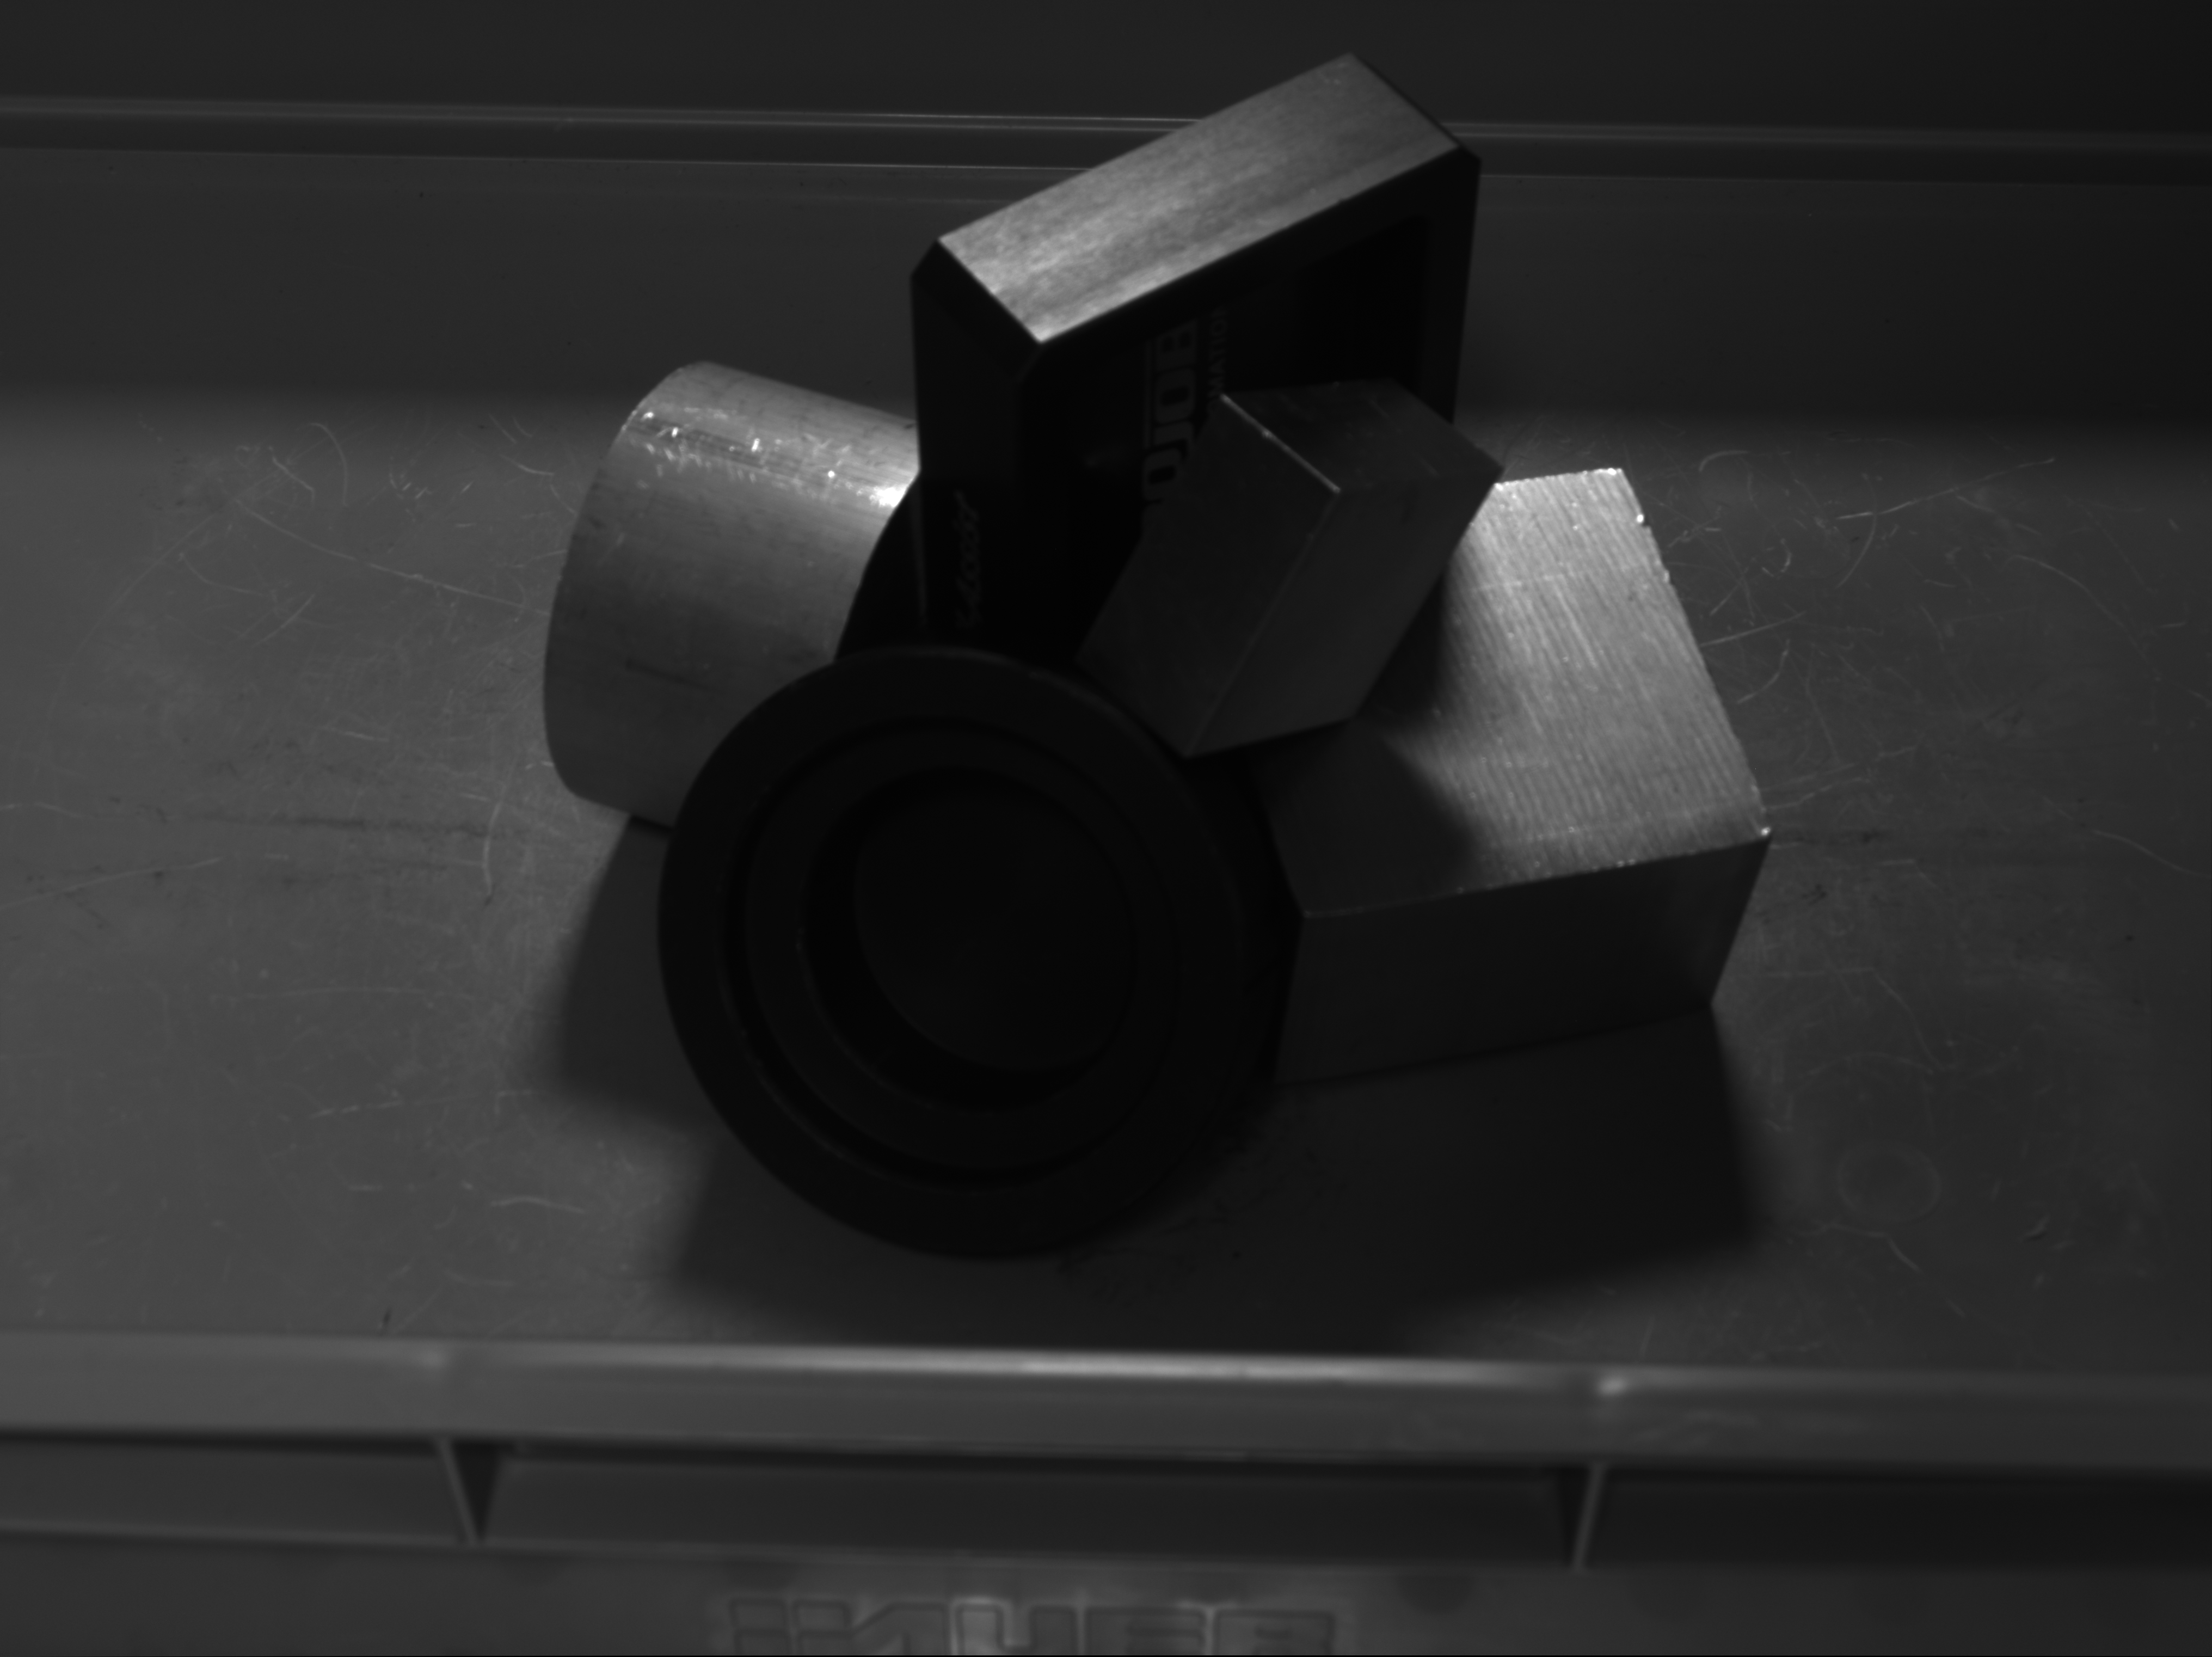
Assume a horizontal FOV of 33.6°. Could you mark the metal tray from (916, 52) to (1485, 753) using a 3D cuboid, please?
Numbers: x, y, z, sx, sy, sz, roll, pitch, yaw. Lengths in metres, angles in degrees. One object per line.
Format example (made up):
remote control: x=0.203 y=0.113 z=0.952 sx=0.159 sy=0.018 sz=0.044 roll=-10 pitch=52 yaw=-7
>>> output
metal tray: x=0.015 y=-0.058 z=0.621 sx=0.090 sy=0.130 sz=0.030 roll=-28 pitch=56 yaw=-22

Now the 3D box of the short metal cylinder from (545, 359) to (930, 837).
short metal cylinder: x=-0.055 y=-0.036 z=0.635 sx=0.050 sy=0.080 sz=0.080 roll=18 pitch=52 yaw=14

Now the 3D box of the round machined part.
round machined part: x=-0.019 y=0.016 z=0.592 sx=0.098 sy=0.098 sz=0.042 roll=16 pitch=16 yaw=13

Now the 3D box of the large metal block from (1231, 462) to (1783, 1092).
large metal block: x=0.060 y=-0.009 z=0.623 sx=0.080 sy=0.050 sz=0.080 roll=-11 pitch=55 yaw=-9

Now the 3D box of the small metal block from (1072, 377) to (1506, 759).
small metal block: x=0.029 y=-0.041 z=0.570 sx=0.025 sy=0.050 sz=0.050 roll=42 pitch=29 yaw=22
